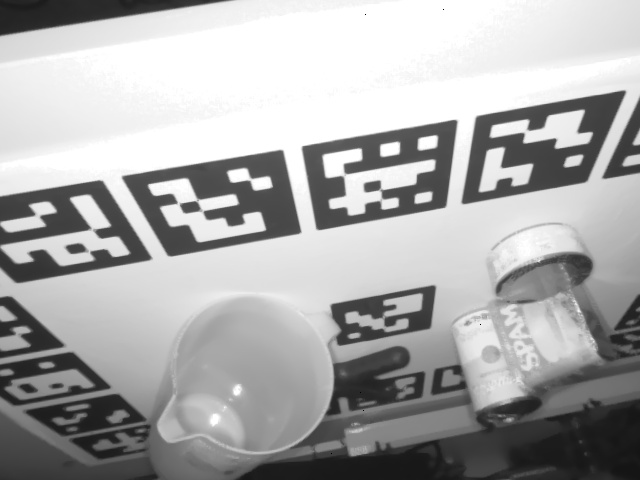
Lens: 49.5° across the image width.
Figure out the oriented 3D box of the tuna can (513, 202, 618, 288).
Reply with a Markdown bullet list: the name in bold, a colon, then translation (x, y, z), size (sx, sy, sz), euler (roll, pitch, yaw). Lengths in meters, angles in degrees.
- **tuna can**: translation (0.218, 0.005, 0.623), size (0.086, 0.034, 0.085), euler (-7, 142, -5)

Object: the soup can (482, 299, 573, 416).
- **soup can**: translation (0.216, 0.122, 0.724), size (0.068, 0.102, 0.067), euler (-9, 142, -6)

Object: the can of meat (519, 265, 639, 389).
- **can of meat**: translation (0.253, 0.077, 0.666), size (0.082, 0.102, 0.058), euler (-38, 134, 27)

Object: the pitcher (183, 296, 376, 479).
- **pitcher**: translation (-0.053, 0.160, 0.672), size (0.192, 0.133, 0.239), euler (-18, 157, -28)

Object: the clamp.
- **clamp**: translation (0.066, 0.152, 0.796), size (0.165, 0.037, 0.121), euler (-8, 148, 1)
